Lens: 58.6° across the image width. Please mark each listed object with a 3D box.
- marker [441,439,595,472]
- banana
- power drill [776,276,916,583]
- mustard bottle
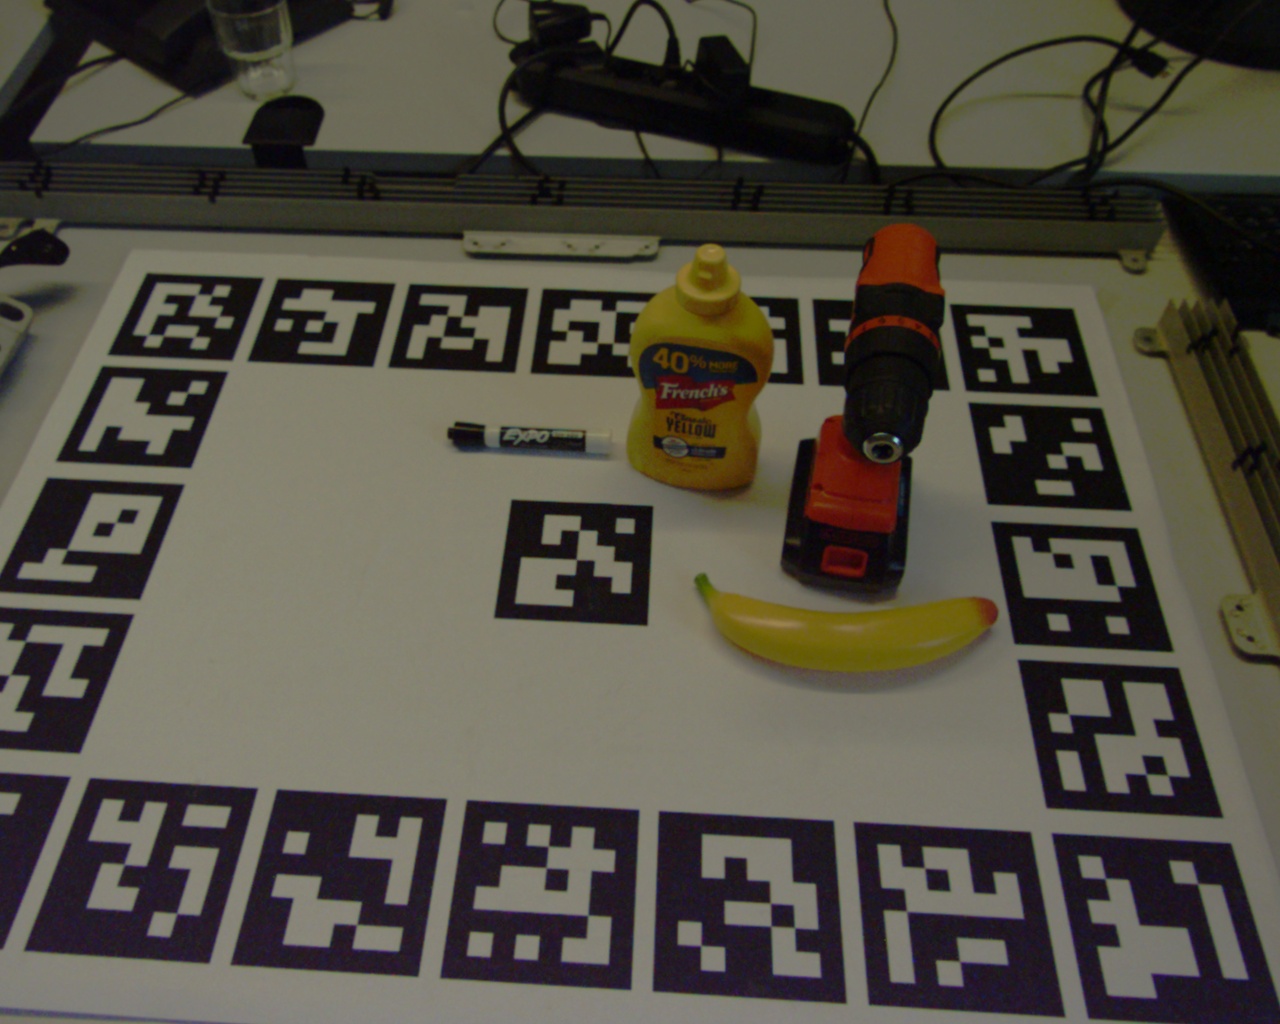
[{"bbox_3d":[-0.096,-0.045,0.893,0.121,0.019,0.020,4,54,3],"label":"marker"},{"bbox_3d":[0.120,0.089,0.783,0.198,0.038,0.074,8,55,8],"label":"banana"},{"bbox_3d":[0.135,-0.038,0.759,0.057,0.186,0.184,14,52,7],"label":"power drill"},{"bbox_3d":[0.032,-0.084,0.815,0.096,0.191,0.058,12,54,7],"label":"mustard bottle"}]
